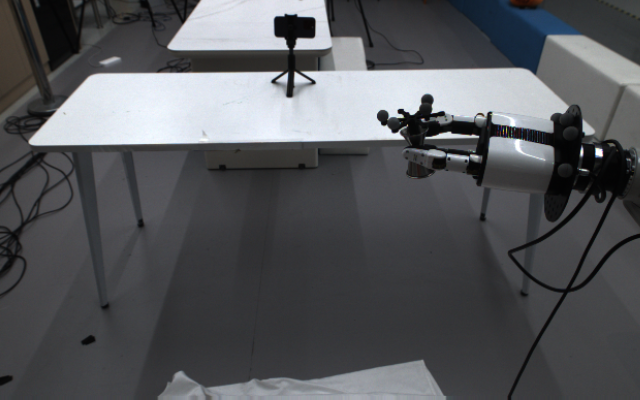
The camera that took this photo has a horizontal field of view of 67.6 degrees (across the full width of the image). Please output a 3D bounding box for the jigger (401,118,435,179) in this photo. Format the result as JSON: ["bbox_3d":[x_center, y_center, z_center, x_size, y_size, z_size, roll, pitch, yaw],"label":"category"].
[{"bbox_3d":[0.141,-0.071,0.701,0.043,0.071,0.043,-12,30,7],"label":"jigger"}]
